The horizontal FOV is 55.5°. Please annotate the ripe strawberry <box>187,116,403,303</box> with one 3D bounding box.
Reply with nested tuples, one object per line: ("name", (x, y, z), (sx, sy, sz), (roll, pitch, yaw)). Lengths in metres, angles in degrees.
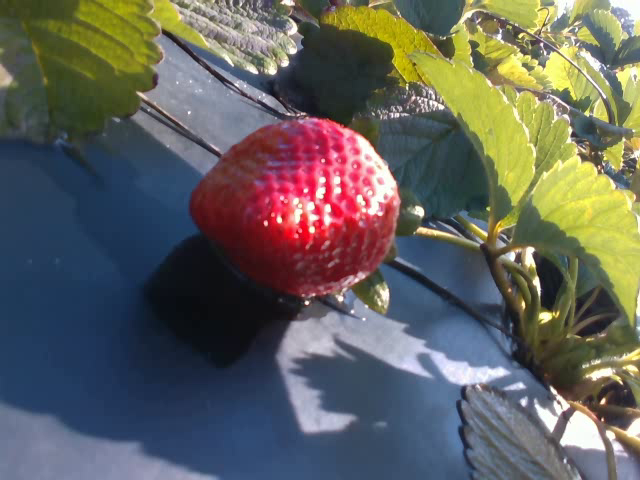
("ripe strawberry", (-0.006, -0.005, 0.115), (0.044, 0.042, 0.055), (-11, 3, 20))
